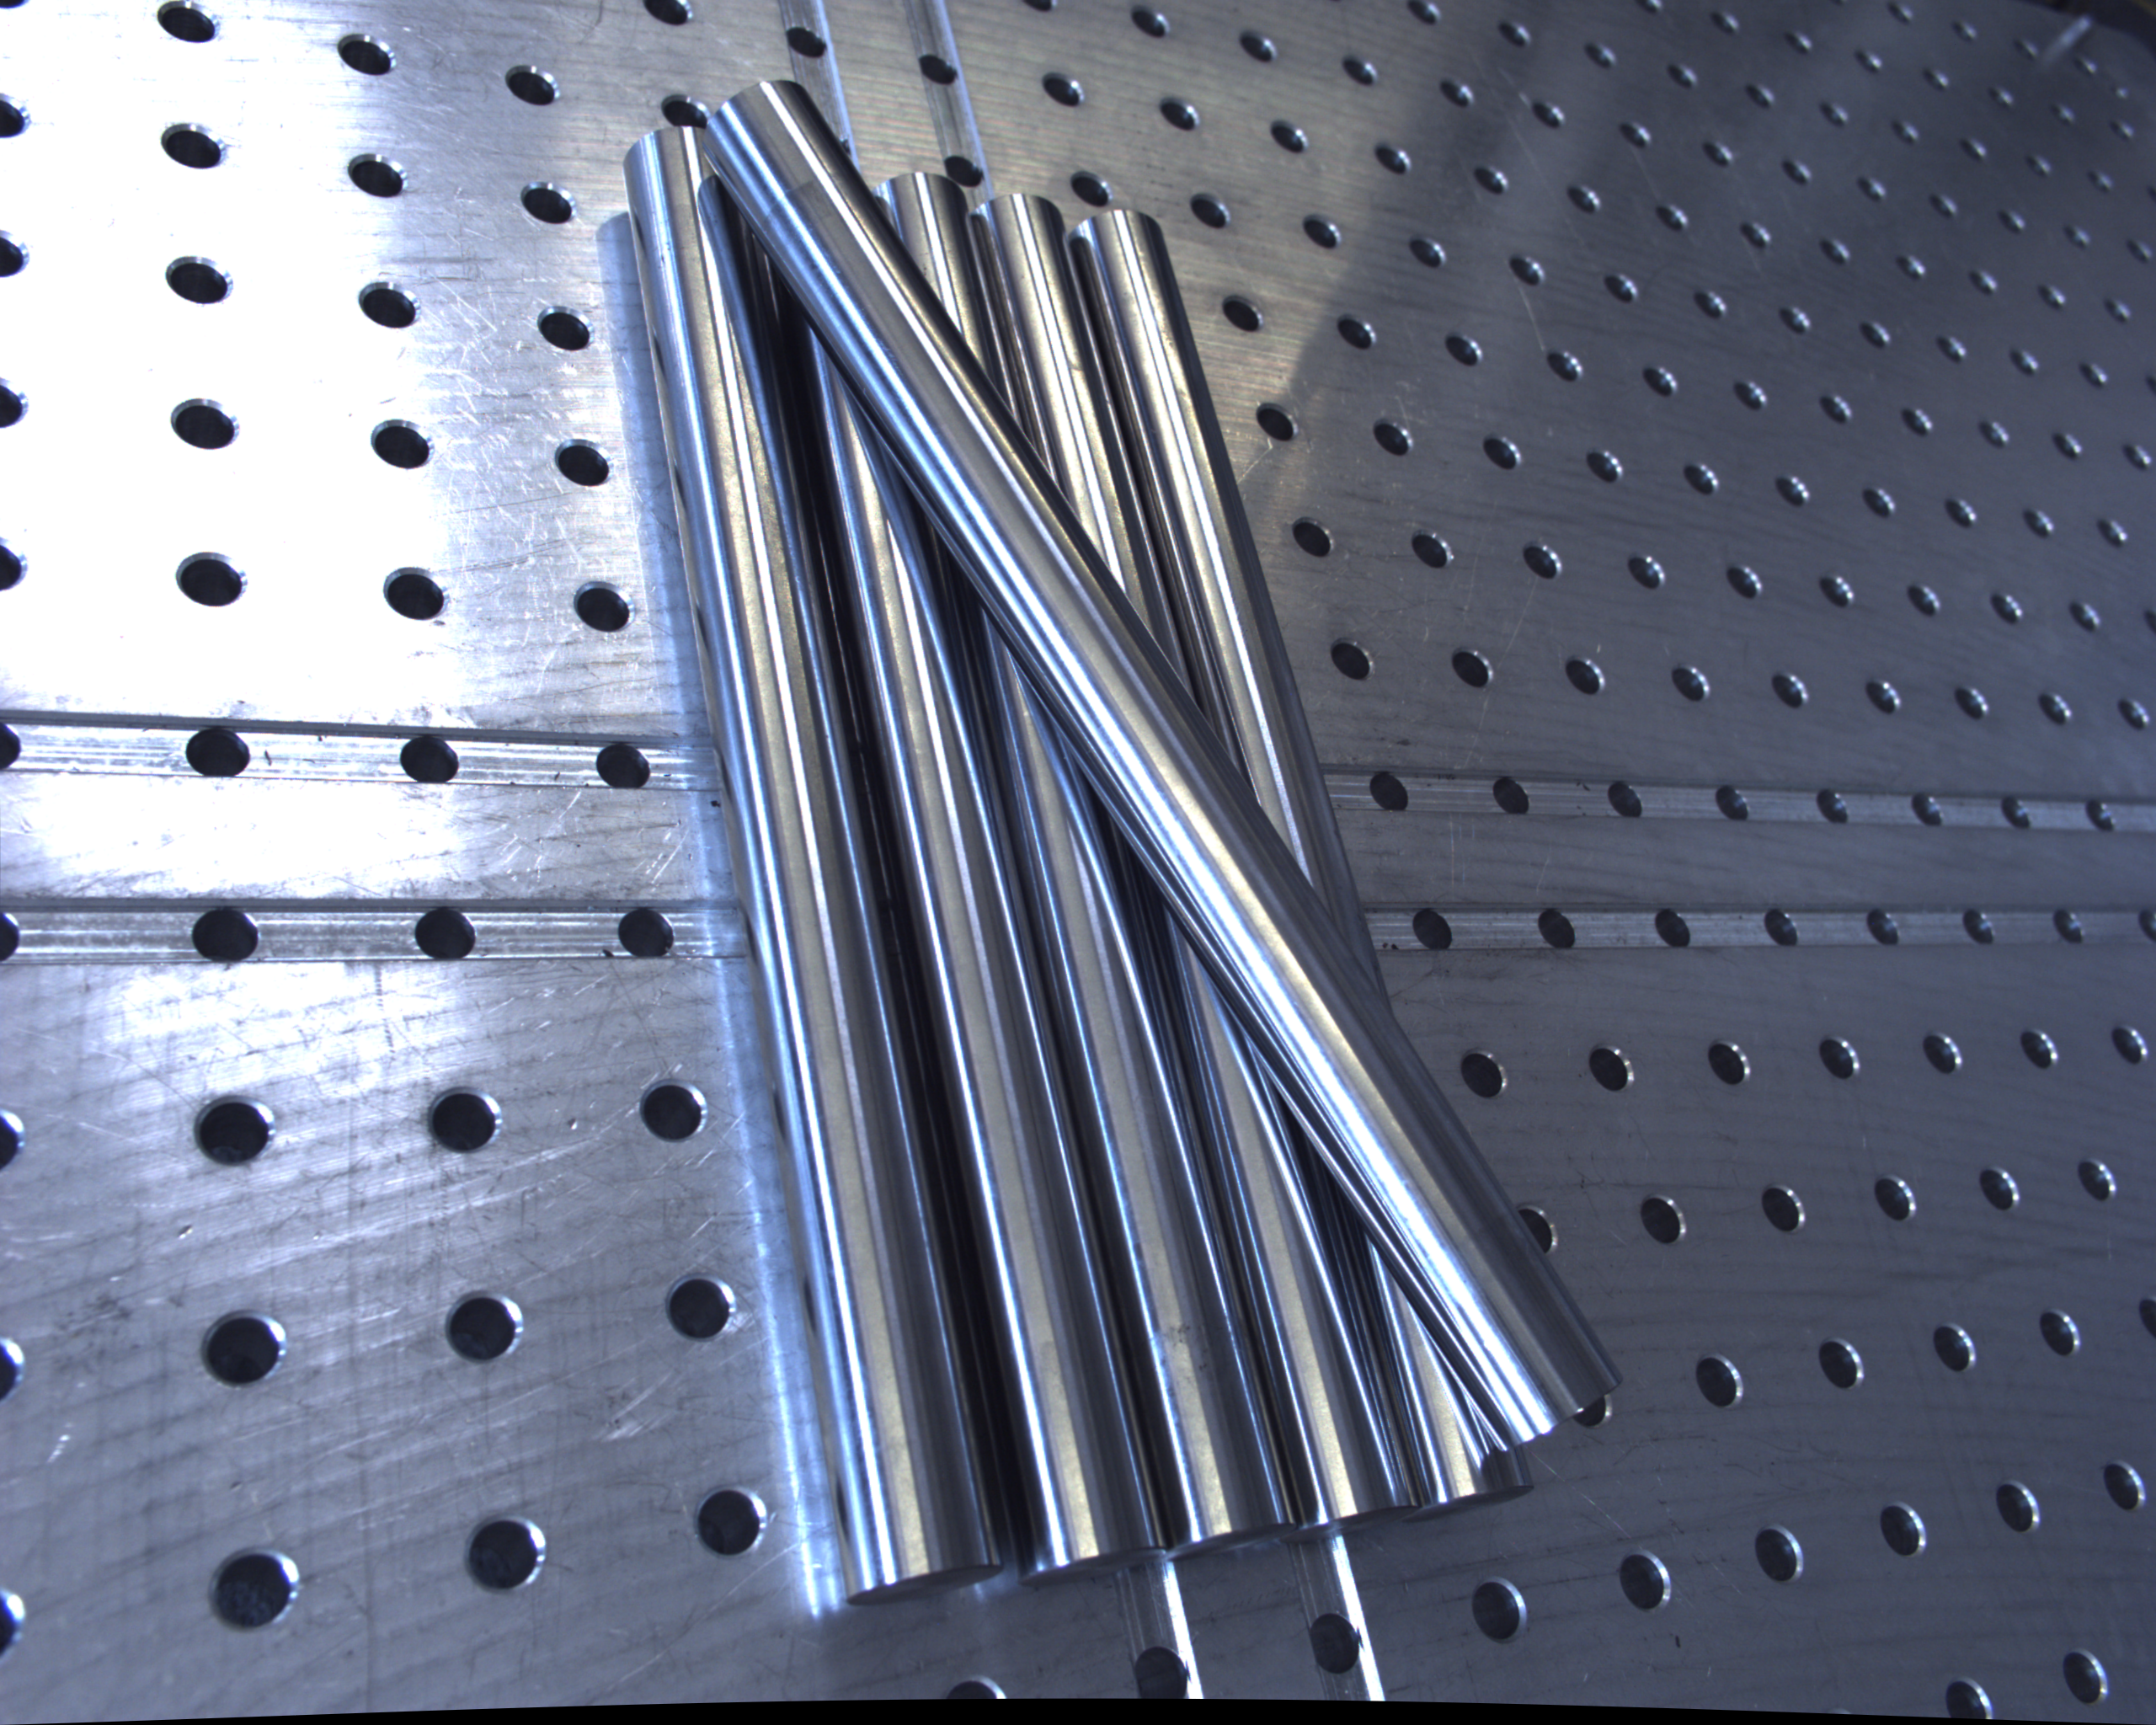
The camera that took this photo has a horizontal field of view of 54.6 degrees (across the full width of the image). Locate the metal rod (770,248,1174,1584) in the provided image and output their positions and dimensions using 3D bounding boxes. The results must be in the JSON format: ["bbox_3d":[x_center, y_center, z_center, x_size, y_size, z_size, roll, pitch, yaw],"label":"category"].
[{"bbox_3d":[-0.028,-0.018,0.402,0.025,0.025,0.299,1,61,-28],"label":"metal rod"}]

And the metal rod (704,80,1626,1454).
[{"bbox_3d":[0.009,-0.028,0.397,0.025,0.025,0.299,-21,73,-36],"label":"metal rod"}]

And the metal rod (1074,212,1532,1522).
[{"bbox_3d":[0.039,-0.016,0.439,0.025,0.025,0.299,1,61,-28],"label":"metal rod"}]

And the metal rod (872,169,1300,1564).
[{"bbox_3d":[-0.006,-0.017,0.414,0.025,0.025,0.299,1,61,-28],"label":"metal rod"}]

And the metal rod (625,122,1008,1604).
[{"bbox_3d":[-0.054,-0.019,0.389,0.025,0.025,0.299,1,61,-28],"label":"metal rod"}]

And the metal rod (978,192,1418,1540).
[{"bbox_3d":[0.016,-0.016,0.427,0.025,0.025,0.299,1,61,-28],"label":"metal rod"}]
